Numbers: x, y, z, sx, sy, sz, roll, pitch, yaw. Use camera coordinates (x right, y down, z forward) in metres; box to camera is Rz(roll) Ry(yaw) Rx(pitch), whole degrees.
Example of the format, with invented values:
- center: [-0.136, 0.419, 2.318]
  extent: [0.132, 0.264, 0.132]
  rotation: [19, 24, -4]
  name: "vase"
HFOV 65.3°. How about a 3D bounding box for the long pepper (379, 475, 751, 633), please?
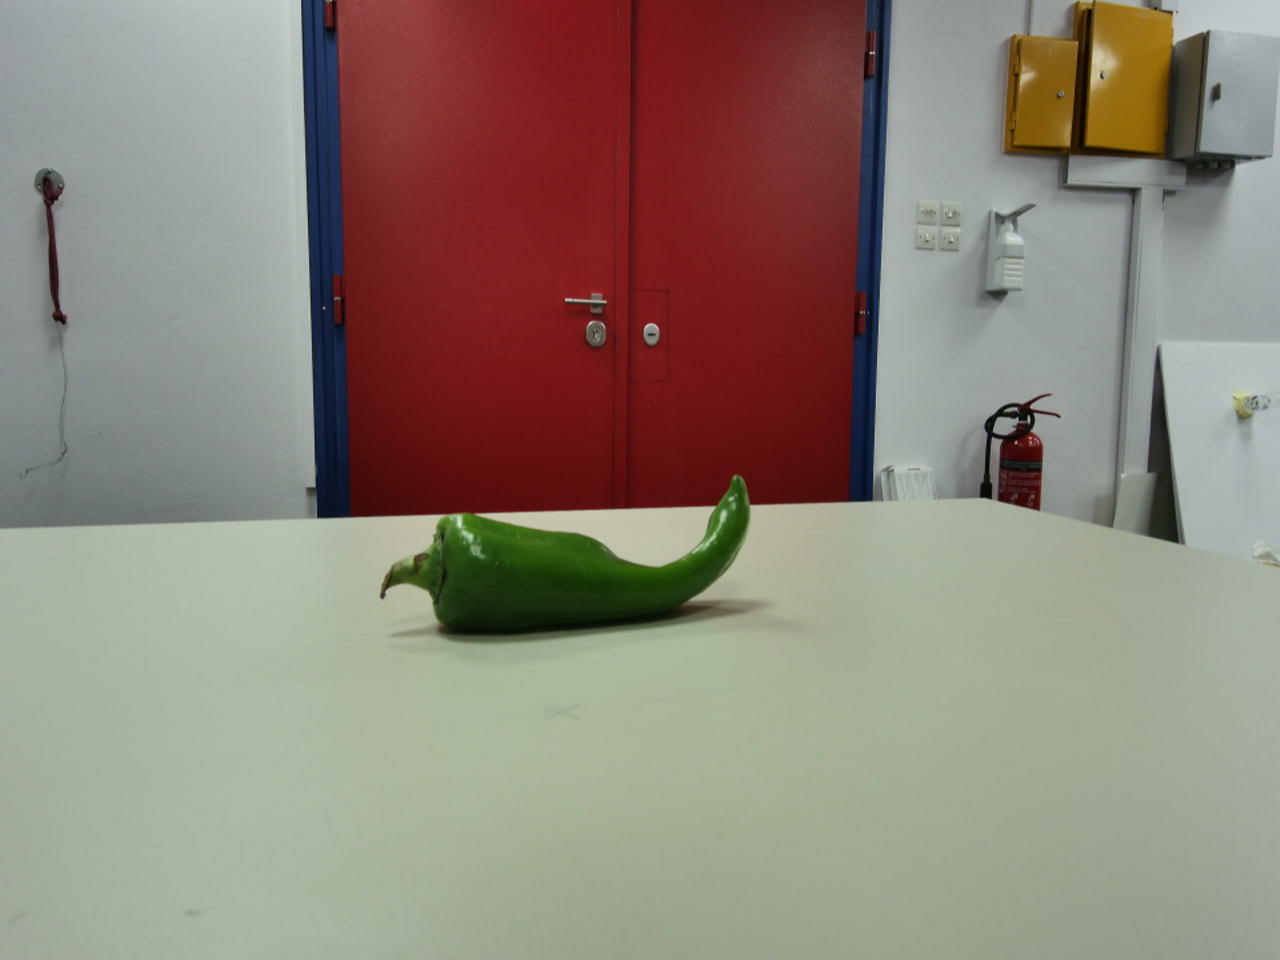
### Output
- center: [-0.028, 0.033, 0.455]
  extent: [0.175, 0.065, 0.058]
  rotation: [-2, 4, -15]
  name: "long pepper"
